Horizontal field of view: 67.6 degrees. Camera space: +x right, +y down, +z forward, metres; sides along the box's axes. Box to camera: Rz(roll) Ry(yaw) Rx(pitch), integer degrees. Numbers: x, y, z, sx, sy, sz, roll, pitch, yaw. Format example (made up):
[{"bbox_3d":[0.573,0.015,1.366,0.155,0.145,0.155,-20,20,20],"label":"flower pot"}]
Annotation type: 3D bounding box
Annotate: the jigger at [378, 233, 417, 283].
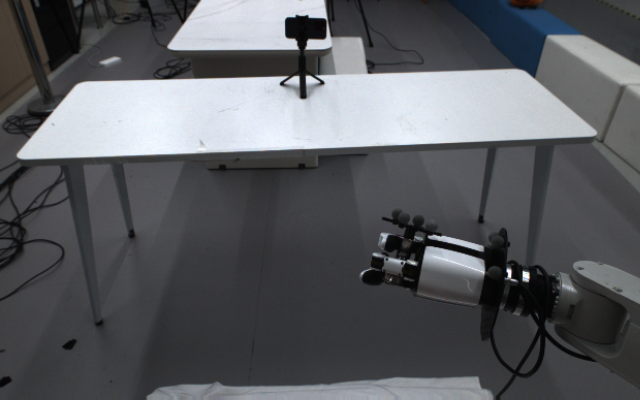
[{"bbox_3d":[0.120,0.087,0.702,0.043,0.071,0.043,17,2,-1],"label":"jigger"}]
